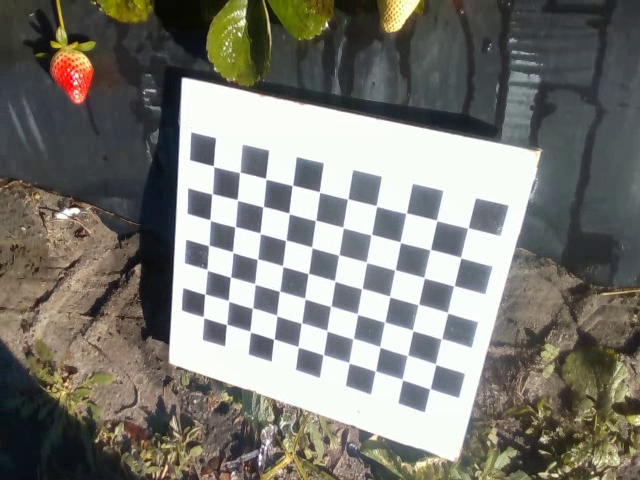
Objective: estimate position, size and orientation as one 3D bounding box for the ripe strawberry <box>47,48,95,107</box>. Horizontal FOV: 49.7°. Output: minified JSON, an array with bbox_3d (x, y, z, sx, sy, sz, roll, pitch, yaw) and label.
[{"bbox_3d":[-0.209,-0.135,0.597,0.039,0.053,0.040,-8,-2,24],"label":"ripe strawberry"}]
